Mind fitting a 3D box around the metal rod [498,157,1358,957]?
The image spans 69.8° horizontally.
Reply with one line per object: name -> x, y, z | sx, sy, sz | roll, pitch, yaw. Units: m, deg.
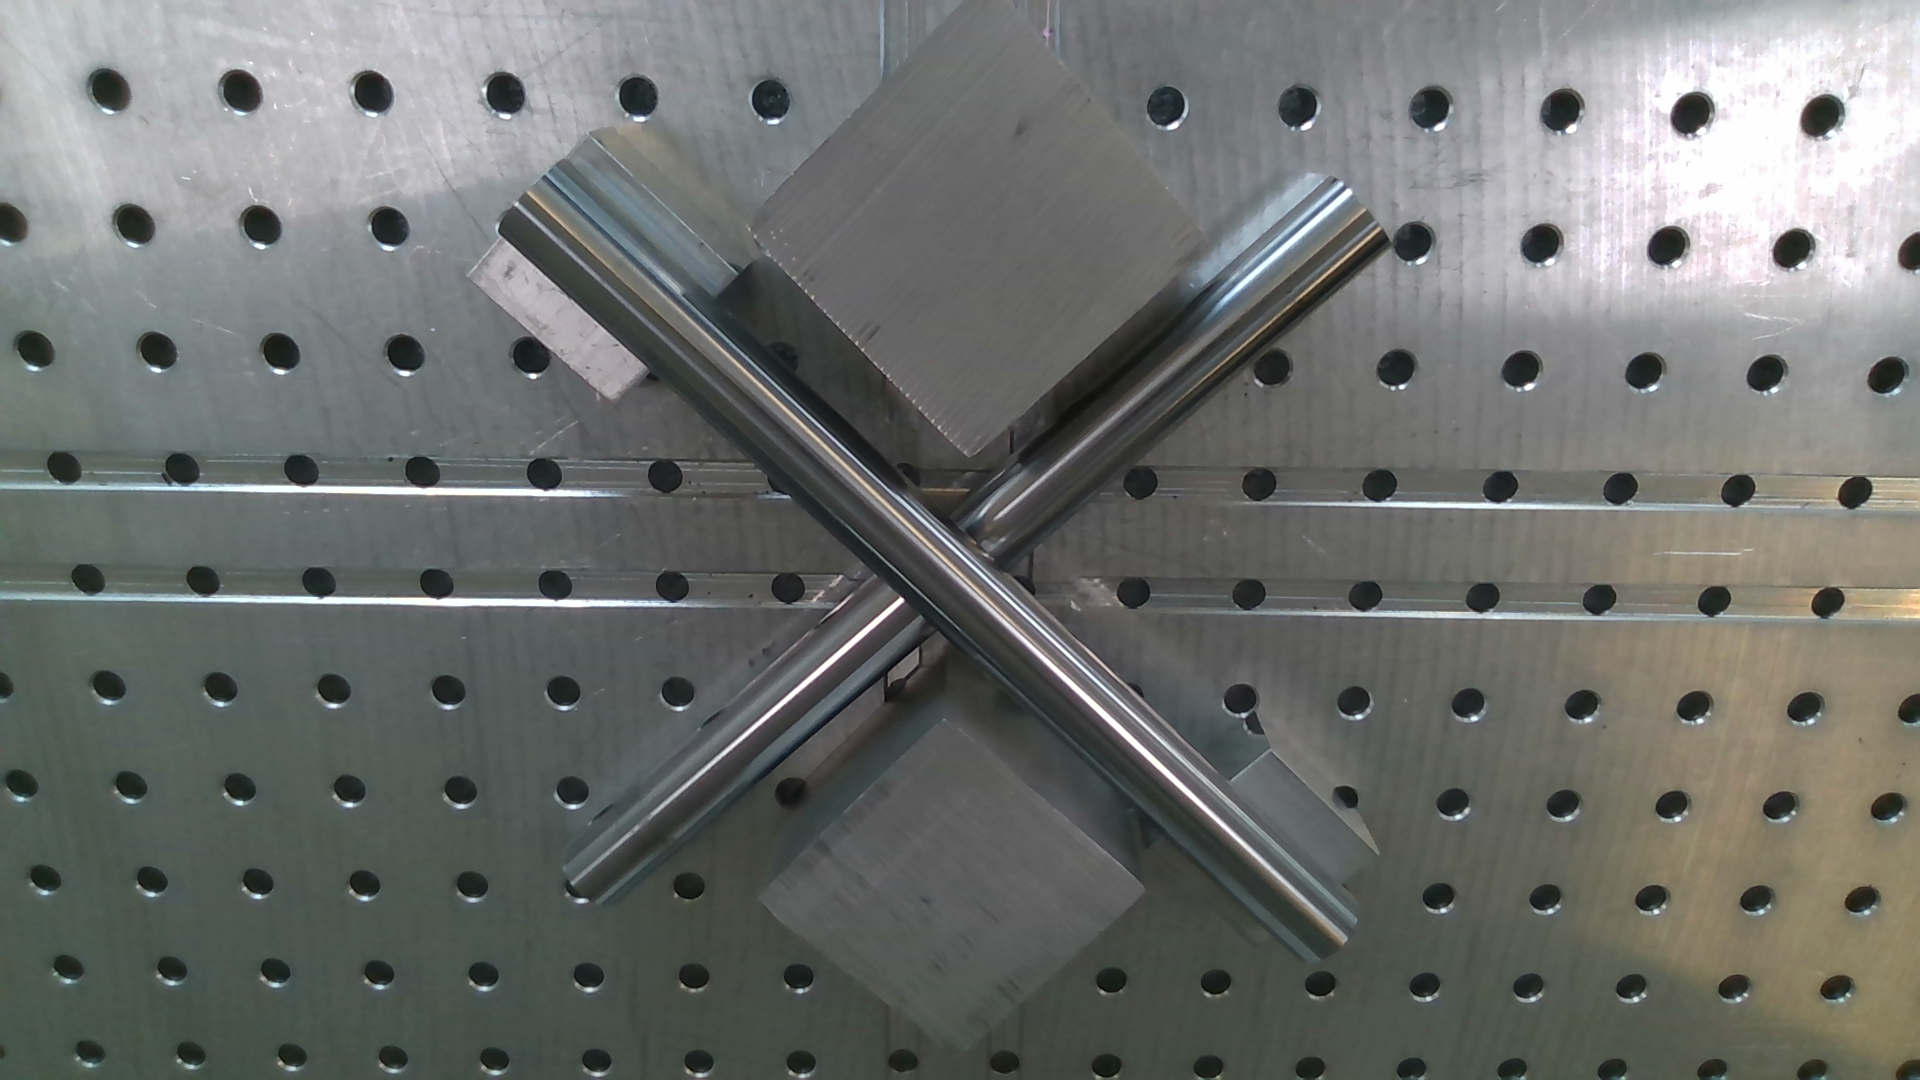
metal rod -> 0.002, 0.015, 0.374 | 0.300, 0.025, 0.025 | 43, 105, -14

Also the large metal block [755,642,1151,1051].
large metal block -> -0.002, 0.092, 0.417 | 0.080, 0.050, 0.080 | 41, 105, -14

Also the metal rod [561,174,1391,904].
metal rod -> -0.005, 0.008, 0.398 | 0.300, 0.025, 0.025 | -41, 105, 14

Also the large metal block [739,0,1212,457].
large metal block -> 0.004, -0.083, 0.352 | 0.080, 0.050, 0.080 | -41, 105, 14

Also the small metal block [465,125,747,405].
small metal block -> -0.093, -0.074, 0.369 | 0.050, 0.025, 0.050 | 43, 105, -14

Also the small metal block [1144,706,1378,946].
small metal block -> 0.091, 0.089, 0.429 | 0.050, 0.025, 0.050 | -42, 105, 14
